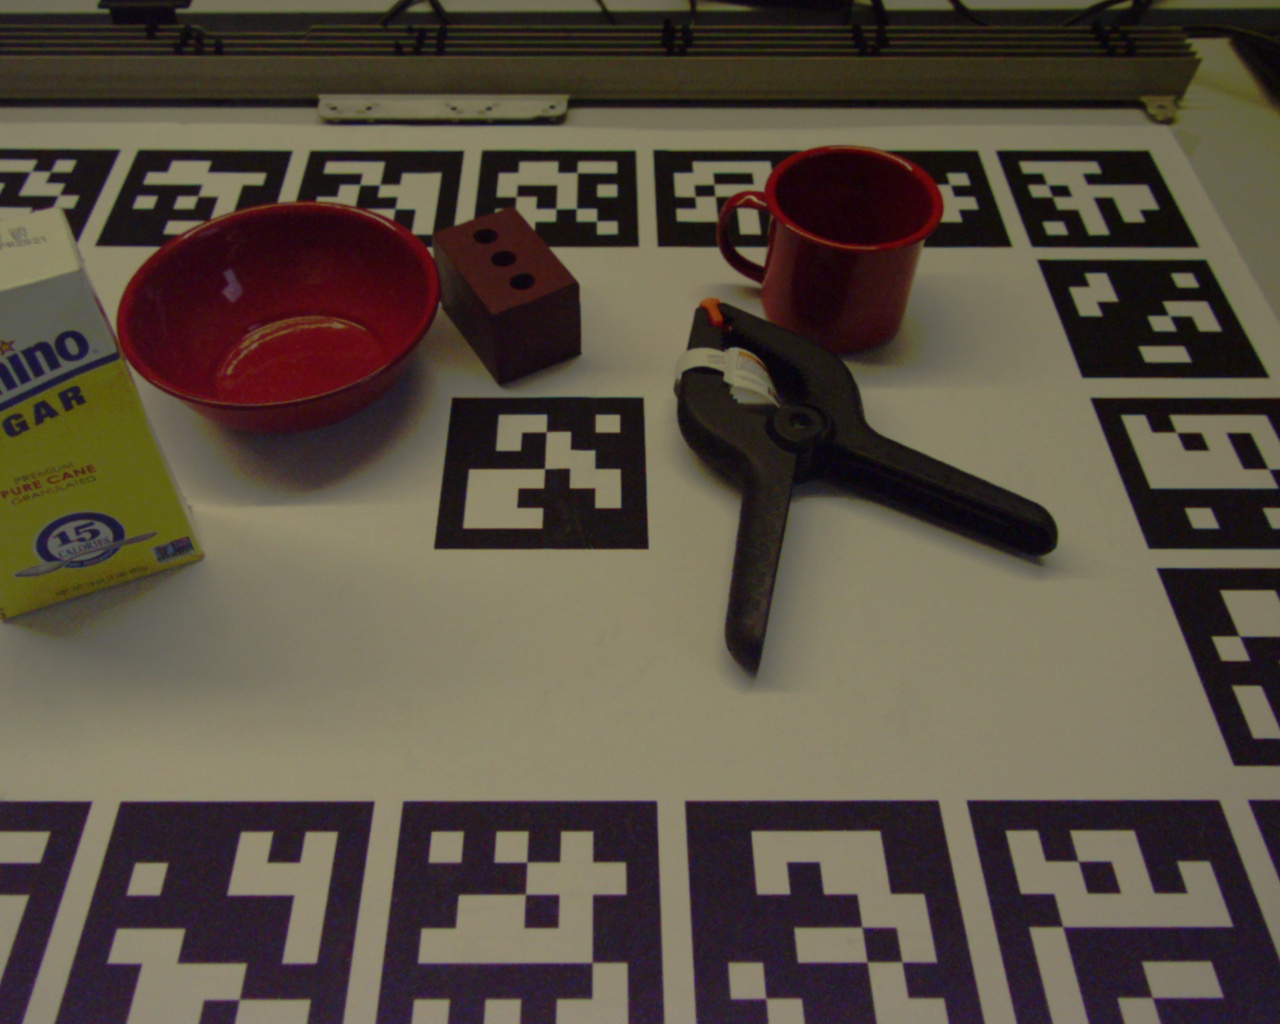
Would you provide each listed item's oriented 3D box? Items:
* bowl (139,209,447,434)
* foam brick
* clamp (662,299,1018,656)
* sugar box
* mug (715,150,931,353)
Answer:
[{"bbox_3d":[-0.185,-0.096,0.628,0.161,0.055,0.162,1,52,-2],"label":"bowl"},{"bbox_3d":[-0.070,-0.114,0.654,0.052,0.051,0.079,-24,58,-18],"label":"foam brick"},{"bbox_3d":[0.071,-0.037,0.593,0.164,0.036,0.205,-21,57,-14],"label":"clamp"},{"bbox_3d":[-0.251,-0.025,0.497,0.092,0.176,0.046,-21,58,-19],"label":"sugar box"},{"bbox_3d":[0.099,-0.150,0.657,0.118,0.081,0.093,22,55,10],"label":"mug"}]
